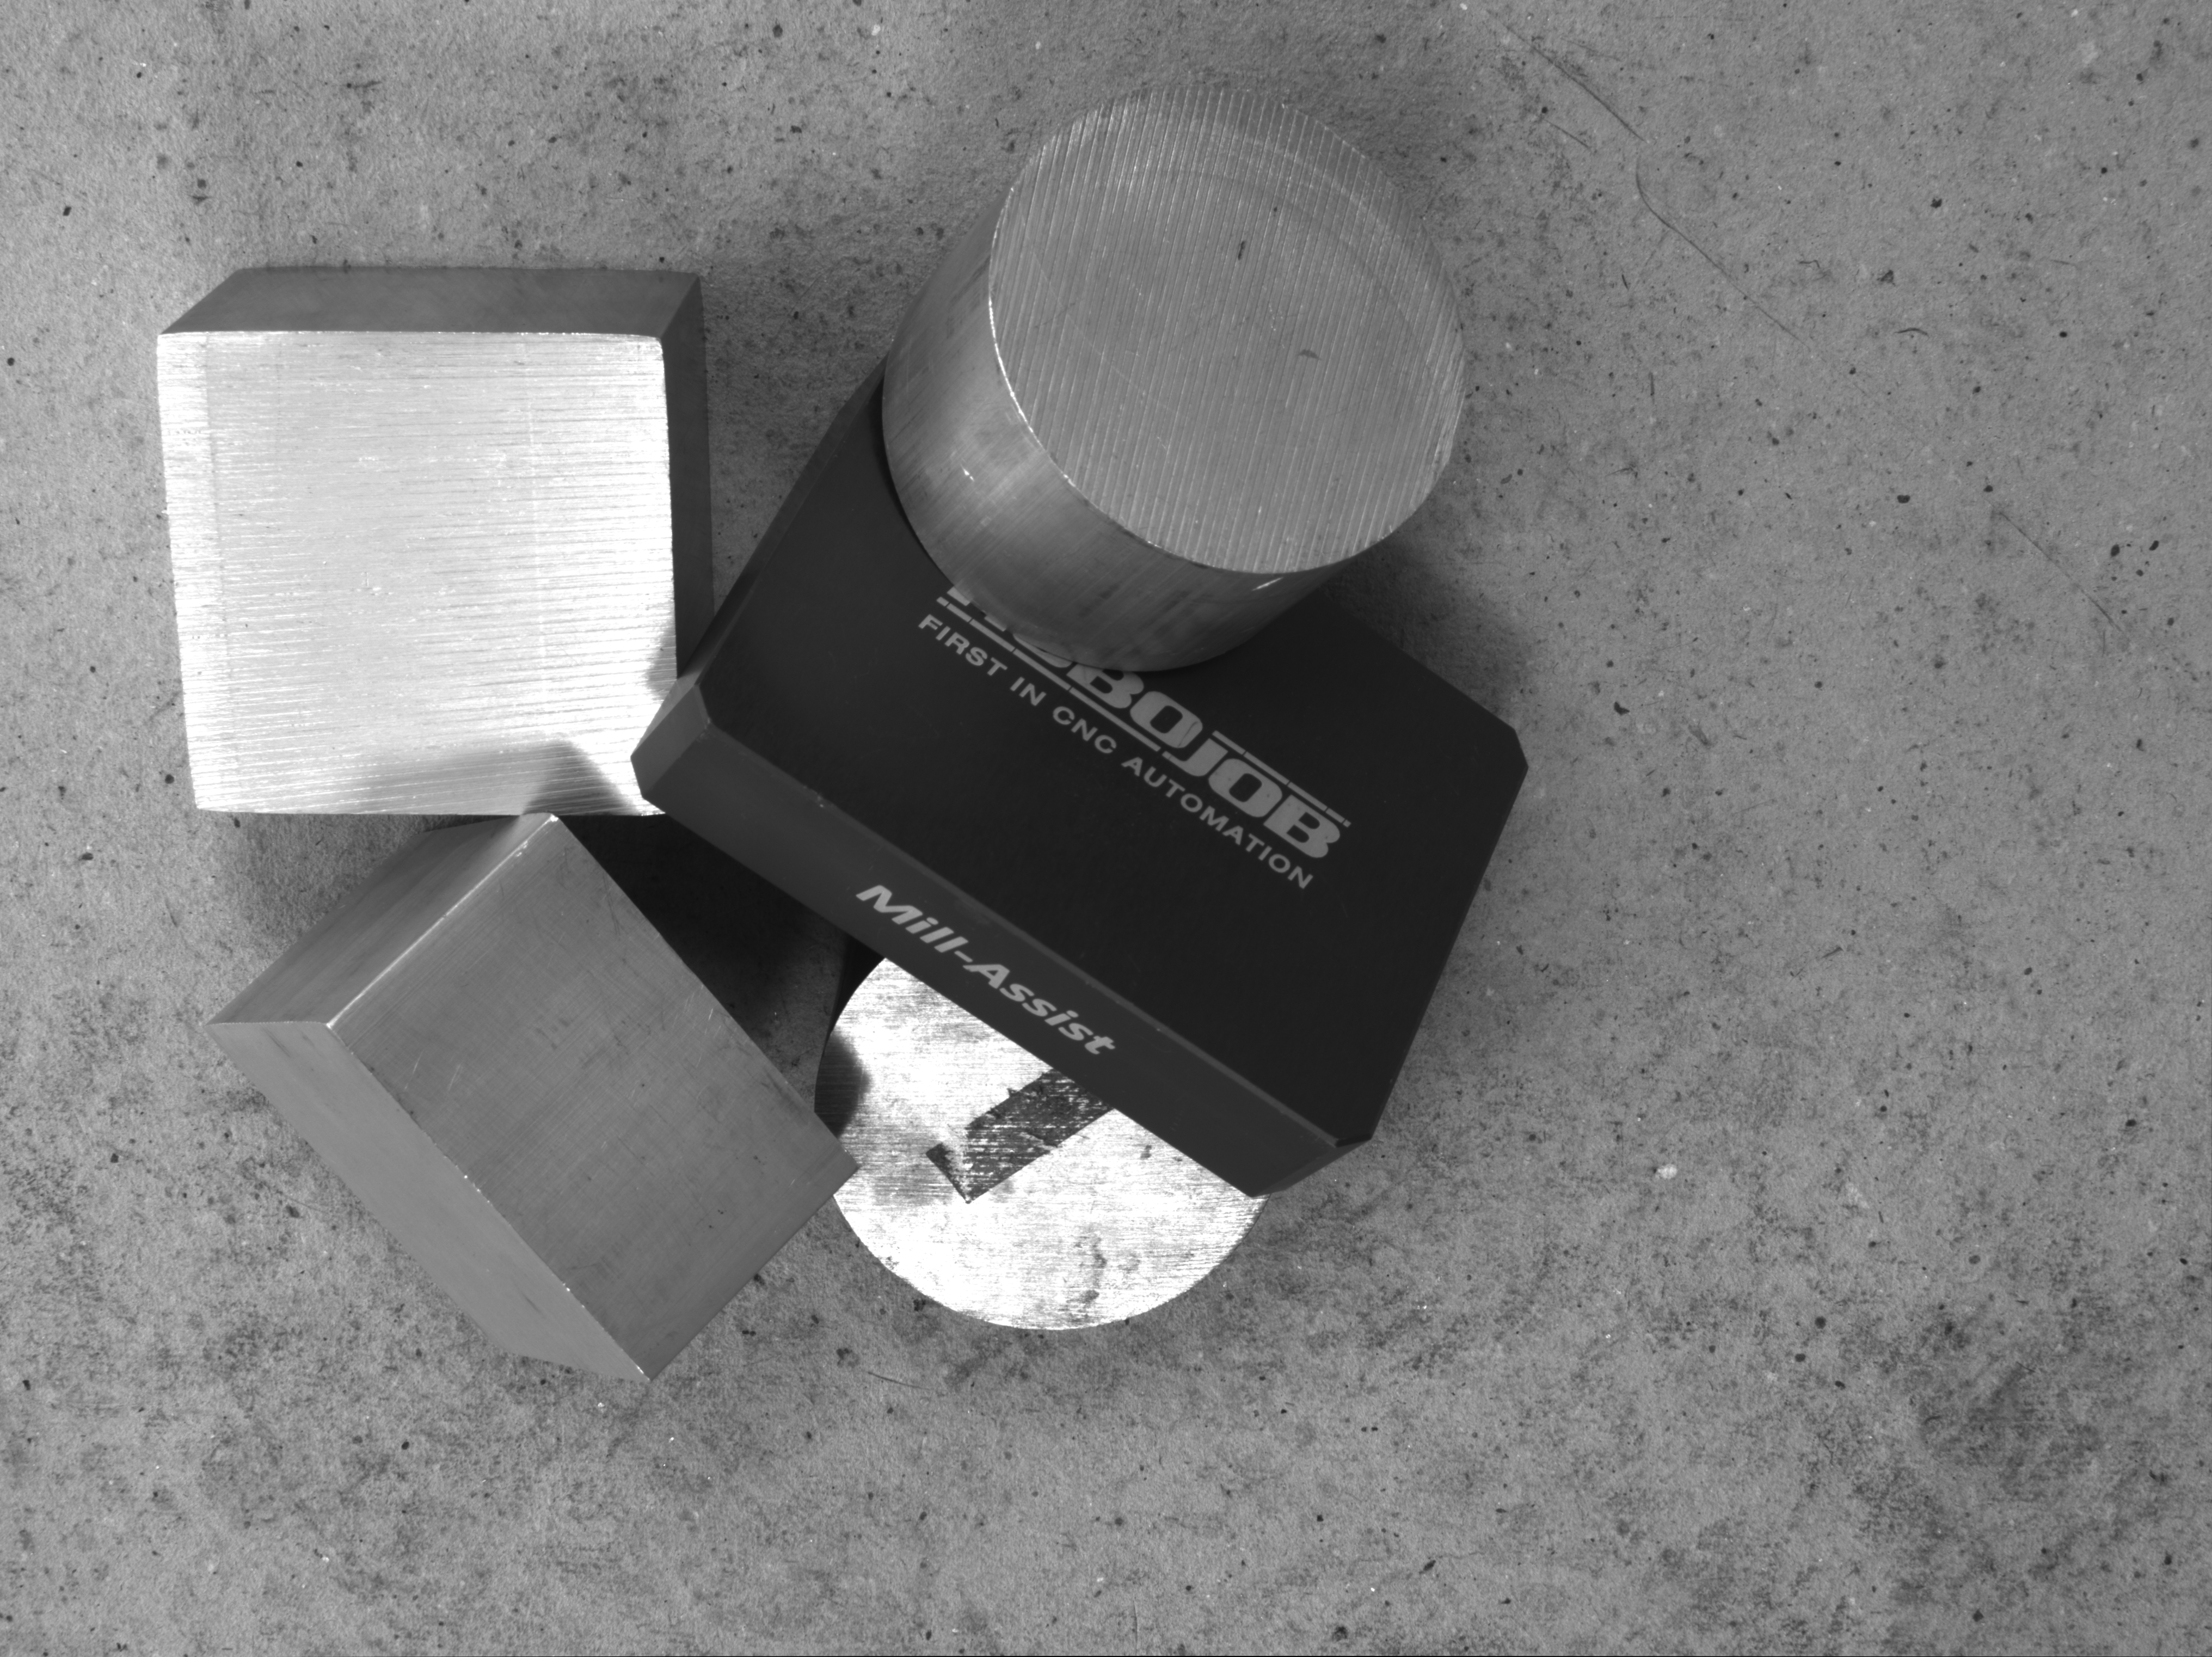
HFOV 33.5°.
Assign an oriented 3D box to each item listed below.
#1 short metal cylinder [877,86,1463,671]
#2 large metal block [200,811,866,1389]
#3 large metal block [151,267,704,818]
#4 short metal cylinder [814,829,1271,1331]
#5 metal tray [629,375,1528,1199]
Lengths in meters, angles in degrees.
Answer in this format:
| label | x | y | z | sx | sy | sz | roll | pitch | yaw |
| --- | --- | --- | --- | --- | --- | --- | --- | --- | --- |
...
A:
| label | x | y | z | sx | sy | sz | roll | pitch | yaw |
| --- | --- | --- | --- | --- | --- | --- | --- | --- | --- |
| short metal cylinder | 0.010 | -0.070 | 0.584 | 0.080 | 0.050 | 0.080 | 6 | 74 | -21 |
| large metal block | -0.099 | 0.046 | 0.624 | 0.050 | 0.080 | 0.080 | -46 | 107 | -22 |
| large metal block | -0.110 | -0.048 | 0.611 | 0.080 | 0.050 | 0.080 | 1 | 110 | 0 |
| short metal cylinder | -0.009 | 0.041 | 0.647 | 0.080 | 0.050 | 0.080 | 0 | 110 | 0 |
| metal tray | -0.002 | -0.011 | 0.607 | 0.130 | 0.090 | 0.030 | 34 | 146 | -11 |
